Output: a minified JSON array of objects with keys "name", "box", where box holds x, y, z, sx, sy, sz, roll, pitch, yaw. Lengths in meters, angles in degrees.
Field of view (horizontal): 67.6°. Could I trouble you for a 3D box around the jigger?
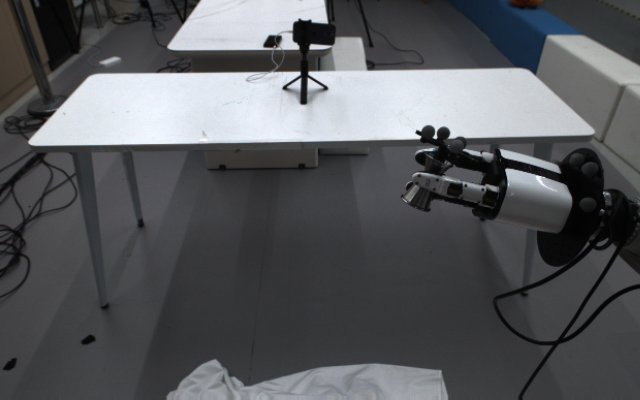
[{"name":"jigger","box":[0.140,-0.025,0.638,0.043,0.071,0.043,23,19,-8]}]
